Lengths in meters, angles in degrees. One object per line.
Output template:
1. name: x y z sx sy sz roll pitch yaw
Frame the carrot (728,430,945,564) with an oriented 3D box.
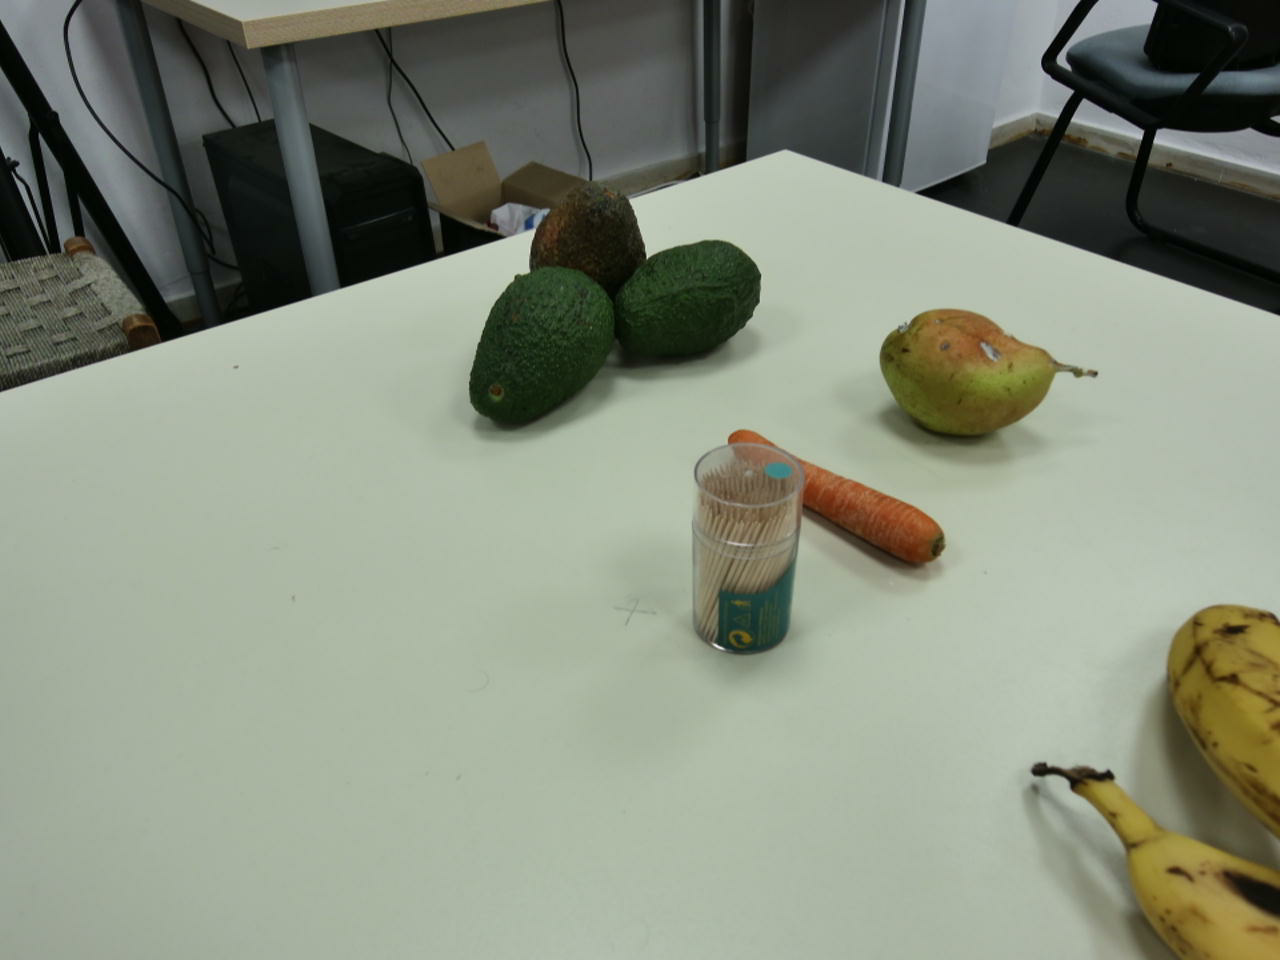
1. carrot: 0.086 0.005 0.457 0.024 0.023 0.122 -26 42 -32
